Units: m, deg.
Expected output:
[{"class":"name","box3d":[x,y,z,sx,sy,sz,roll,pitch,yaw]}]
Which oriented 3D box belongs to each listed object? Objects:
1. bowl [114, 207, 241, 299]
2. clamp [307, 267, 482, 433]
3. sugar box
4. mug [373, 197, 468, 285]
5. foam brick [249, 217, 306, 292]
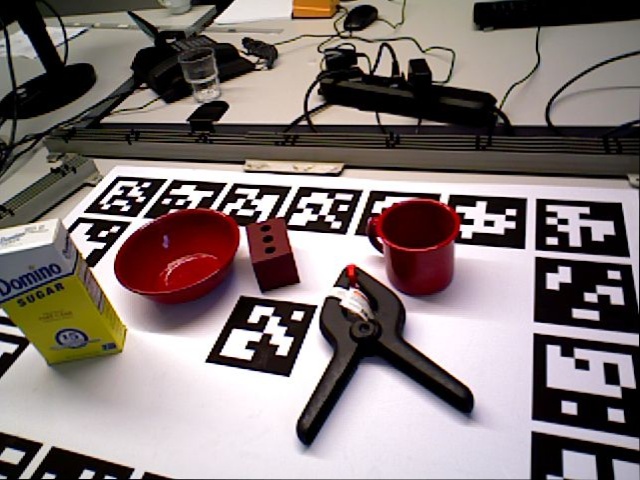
[{"class":"bowl","box3d":[-0.173,0.023,0.687,0.161,0.056,0.159,-6,42,5]},{"class":"clamp","box3d":[0.053,0.090,0.565,0.165,0.037,0.200,-14,43,1]},{"class":"sugar box","box3d":[-0.283,0.063,0.578,0.092,0.180,0.045,-12,44,-3]},{"class":"mug","box3d":[0.112,-0.008,0.629,0.117,0.083,0.091,27,54,31]},{"class":"foam brick","box3d":[-0.054,0.017,0.677,0.052,0.052,0.077,-16,43,-4]}]
